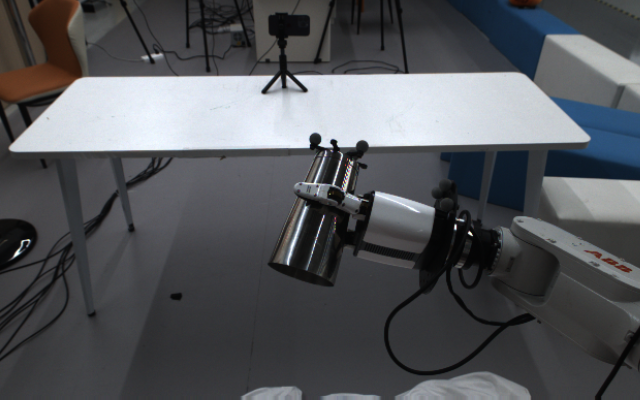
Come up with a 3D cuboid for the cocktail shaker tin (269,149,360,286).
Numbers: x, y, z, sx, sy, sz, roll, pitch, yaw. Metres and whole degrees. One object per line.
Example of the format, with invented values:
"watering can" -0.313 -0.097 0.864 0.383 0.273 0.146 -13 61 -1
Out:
"cocktail shaker tin" -0.002 0.021 0.656 0.093 0.093 0.170 13 70 15
